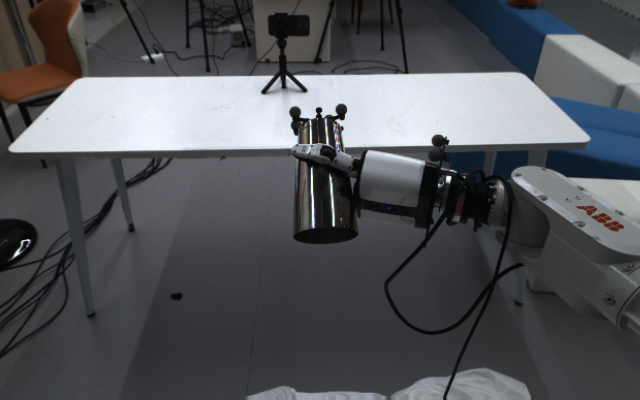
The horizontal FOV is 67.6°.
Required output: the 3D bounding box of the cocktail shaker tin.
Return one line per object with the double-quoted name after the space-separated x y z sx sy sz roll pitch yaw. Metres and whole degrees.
0.003 -0.029 0.706 0.093 0.093 0.170 -2 71 -6 "cocktail shaker tin"
